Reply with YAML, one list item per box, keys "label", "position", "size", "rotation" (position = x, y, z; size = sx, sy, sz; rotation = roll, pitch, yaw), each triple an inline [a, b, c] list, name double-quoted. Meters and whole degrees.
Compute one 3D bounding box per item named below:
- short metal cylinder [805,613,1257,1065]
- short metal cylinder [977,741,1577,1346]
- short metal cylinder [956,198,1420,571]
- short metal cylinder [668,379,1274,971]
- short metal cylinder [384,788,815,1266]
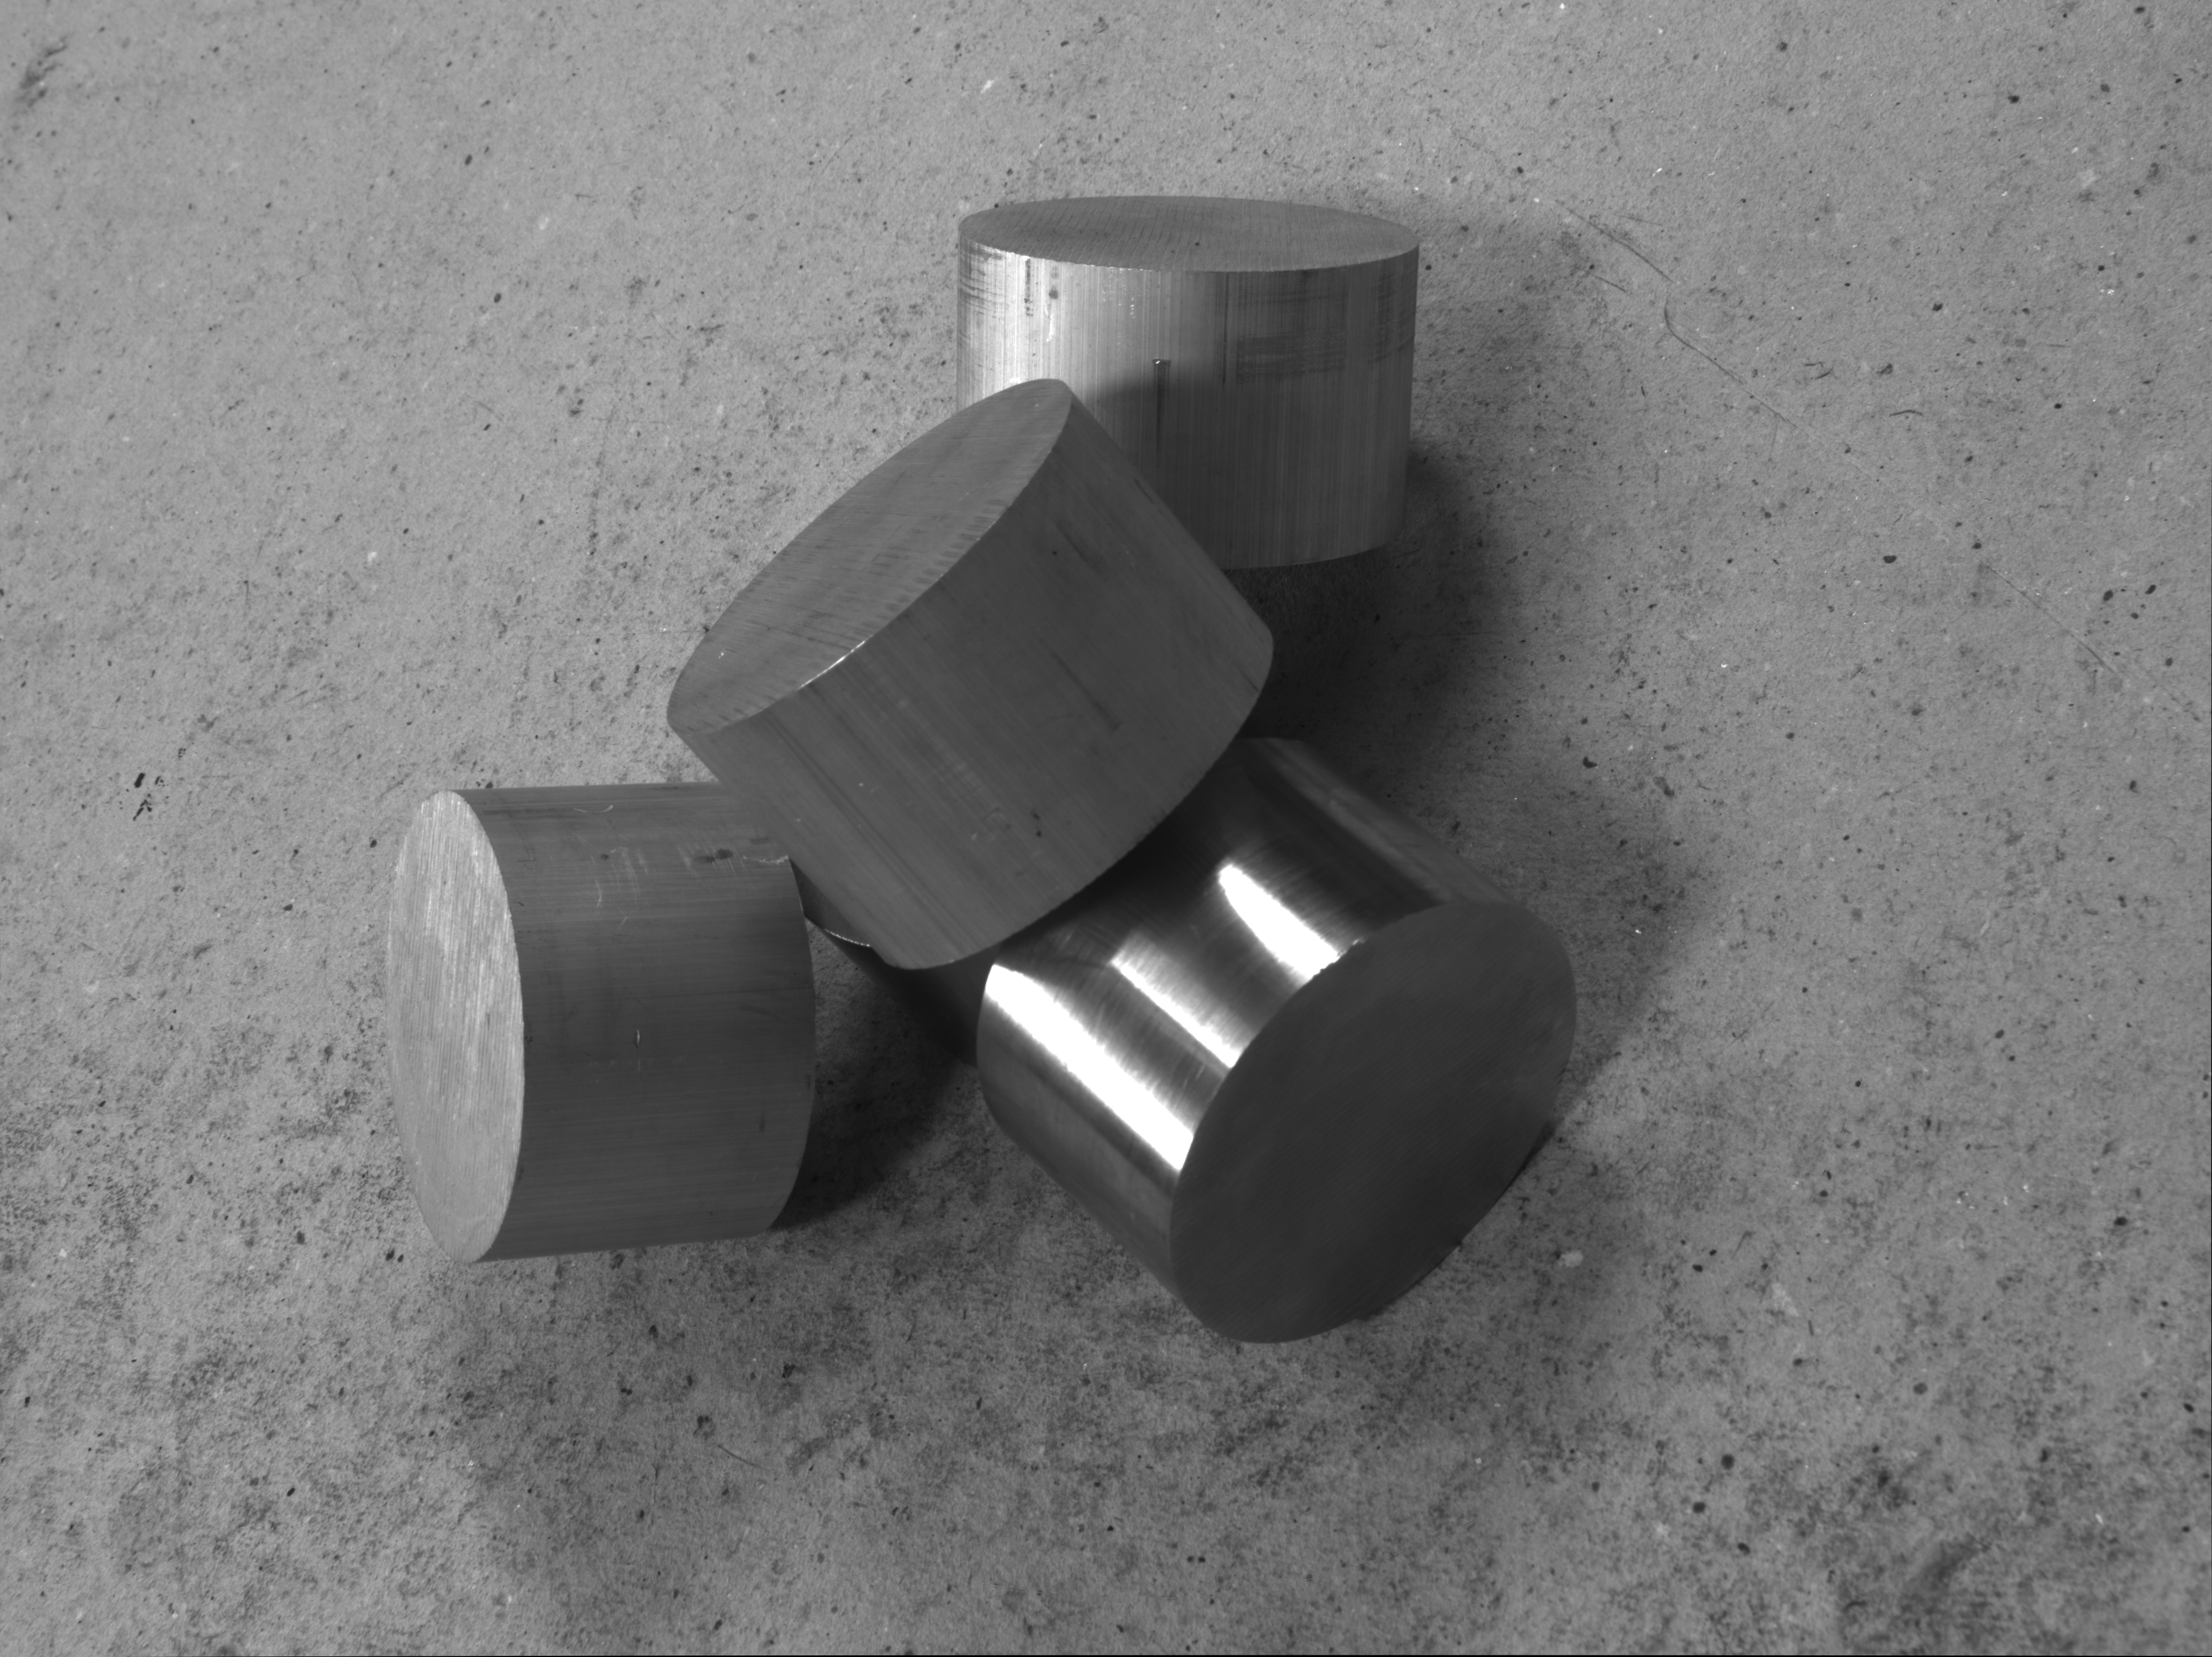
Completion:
- label: "short metal cylinder"
  position: [-0.014, -0.003, 0.638]
  size: [0.080, 0.050, 0.080]
  rotation: [-13, 55, 20]
- label: "short metal cylinder"
  position: [0.027, 0.033, 0.574]
  size: [0.080, 0.080, 0.050]
  rotation: [-47, 51, -4]
- label: "short metal cylinder"
  position: [0.014, -0.079, 0.643]
  size: [0.080, 0.080, 0.050]
  rotation: [14, 112, 34]
- label: "short metal cylinder"
  position: [-0.021, -0.024, 0.568]
  size: [0.080, 0.050, 0.080]
  rotation: [-35, 20, 16]
- label: "short metal cylinder"
  position: [-0.088, 0.033, 0.629]
  size: [0.080, 0.050, 0.080]
  rotation: [6, 97, 63]
